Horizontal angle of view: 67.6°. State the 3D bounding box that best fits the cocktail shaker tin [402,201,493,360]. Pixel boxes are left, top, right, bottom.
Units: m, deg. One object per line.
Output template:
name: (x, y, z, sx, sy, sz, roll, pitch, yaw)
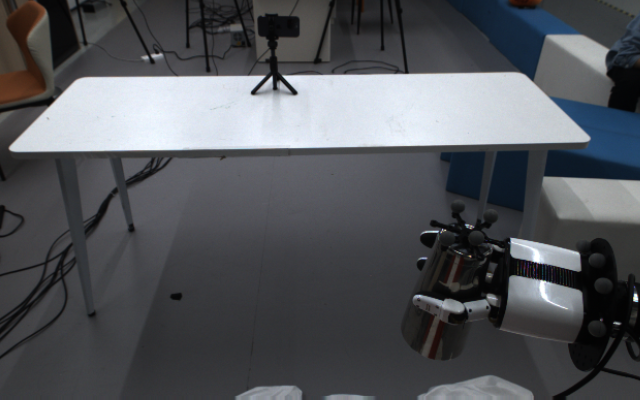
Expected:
cocktail shaker tin: (0.167, 0.114, 0.624, 0.093, 0.170, 0.093, 4, 36, -3)
